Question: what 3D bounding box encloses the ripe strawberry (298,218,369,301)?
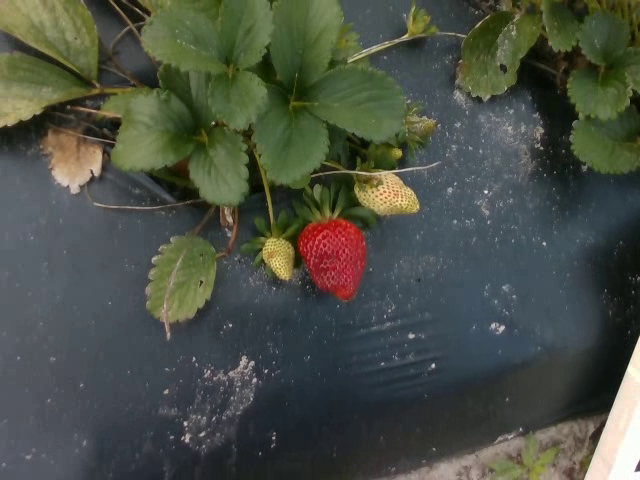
[{"bbox_3d":[0.010,0.015,0.355,0.046,0.059,0.046,-11,-35,-6],"label":"ripe strawberry"}]
